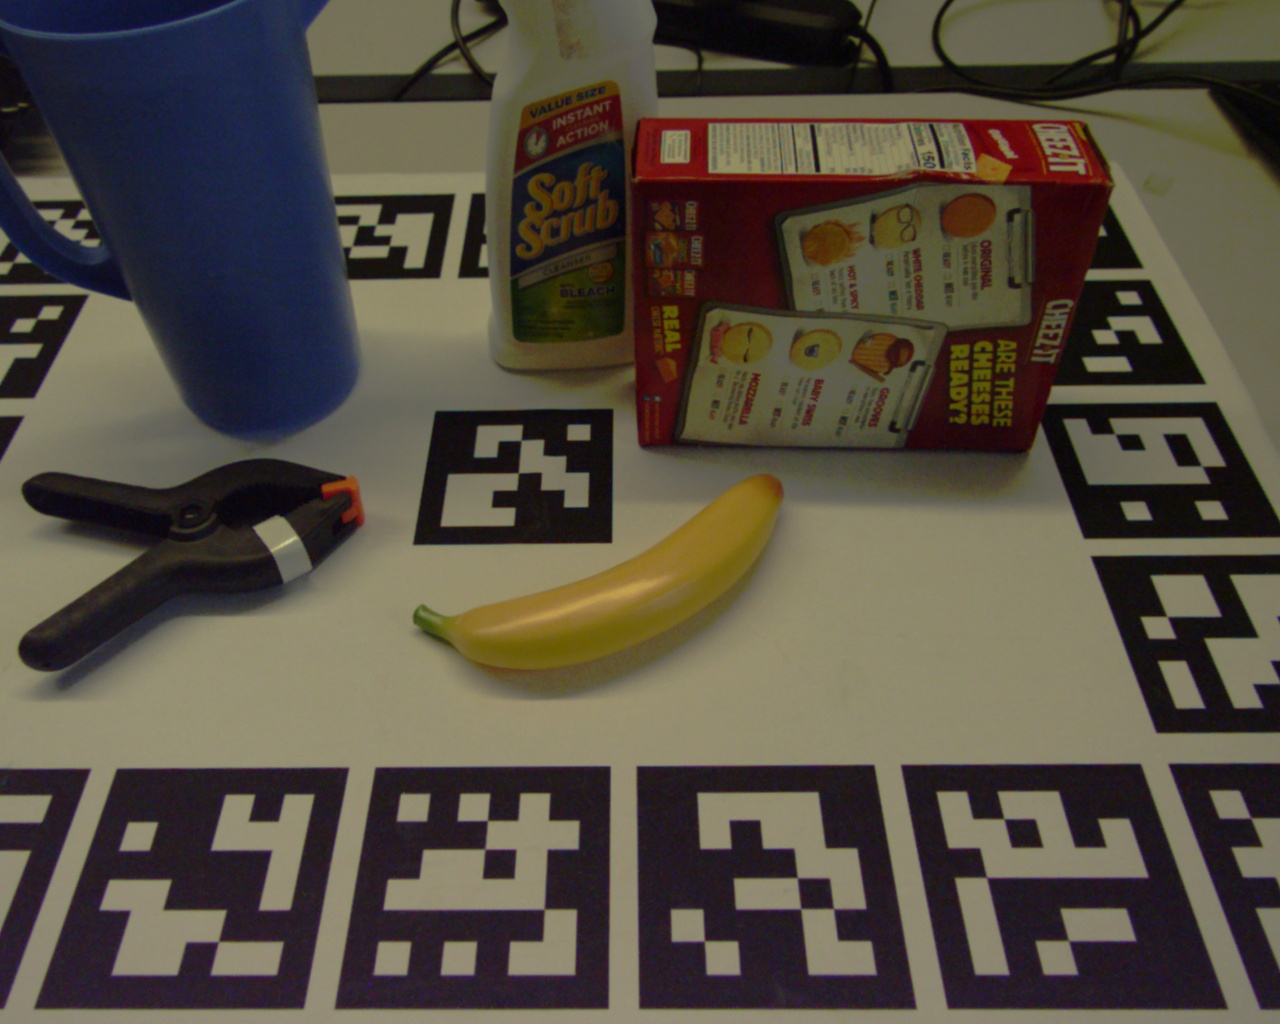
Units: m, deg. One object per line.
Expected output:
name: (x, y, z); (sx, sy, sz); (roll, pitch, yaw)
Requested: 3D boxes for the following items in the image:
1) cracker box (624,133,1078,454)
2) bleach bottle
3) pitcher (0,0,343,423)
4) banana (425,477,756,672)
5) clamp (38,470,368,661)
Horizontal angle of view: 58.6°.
cracker box: (0.101, -0.113, 0.611); (0.214, 0.163, 0.072); (0, 43, 4)
bleach bottle: (-0.054, -0.184, 0.648); (0.103, 0.250, 0.068); (0, 45, 1)
pitcher: (-0.242, -0.167, 0.612); (0.187, 0.242, 0.134); (-13, 46, -14)
banana: (-0.009, 0.035, 0.590); (0.196, 0.038, 0.075); (-27, 50, -22)
clamp: (-0.229, 0.015, 0.607); (0.164, 0.036, 0.123); (-12, 45, -12)
